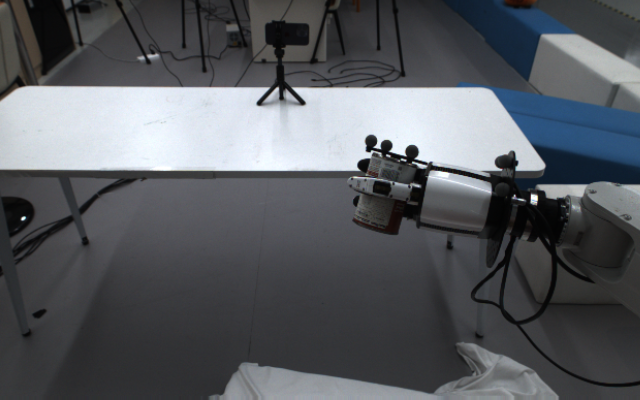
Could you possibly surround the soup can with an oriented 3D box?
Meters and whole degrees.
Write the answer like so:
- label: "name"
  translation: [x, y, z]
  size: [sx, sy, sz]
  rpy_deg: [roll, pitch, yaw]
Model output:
- label: "soup can"
  translation: [0.092, -0.009, 0.683]
  size: [0.067, 0.101, 0.067]
  rpy_deg: [15, 7, -2]
